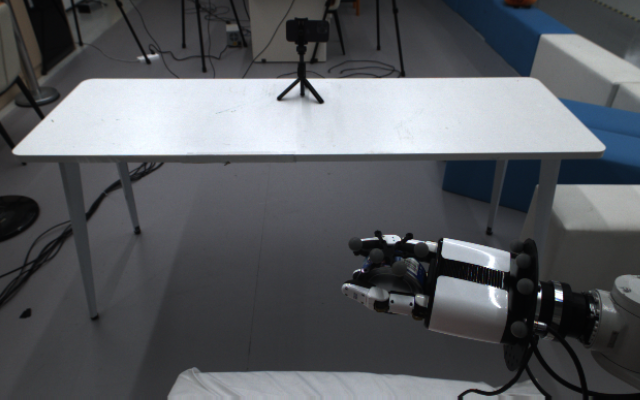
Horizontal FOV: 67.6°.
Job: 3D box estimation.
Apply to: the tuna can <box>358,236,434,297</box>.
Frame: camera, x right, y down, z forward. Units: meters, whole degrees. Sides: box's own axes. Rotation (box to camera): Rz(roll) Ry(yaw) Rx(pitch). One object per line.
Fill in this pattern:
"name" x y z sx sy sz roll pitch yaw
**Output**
"tuna can" 0.093 0.102 0.612 0.085 0.085 0.034 12 39 13
